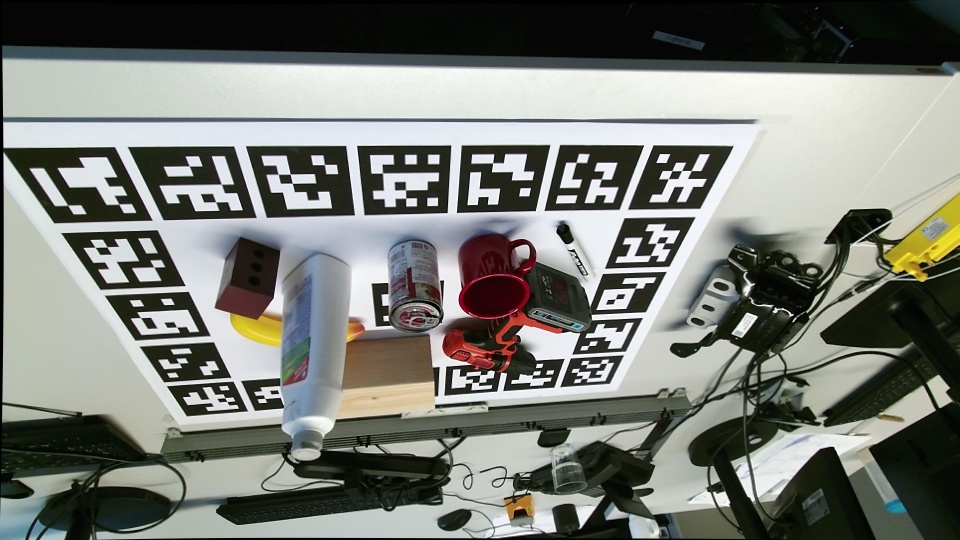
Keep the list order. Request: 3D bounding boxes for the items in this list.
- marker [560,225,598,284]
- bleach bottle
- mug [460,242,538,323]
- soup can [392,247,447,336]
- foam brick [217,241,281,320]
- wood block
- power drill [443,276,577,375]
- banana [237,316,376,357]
[{"bbox_3d":[0.138,-0.021,0.744,0.020,0.019,0.121,-25,135,12],"label":"marker"},{"bbox_3d":[-0.196,0.105,0.642,0.068,0.249,0.103,19,131,-30],"label":"bleach bottle"},{"bbox_3d":[0.027,0.011,0.706,0.117,0.081,0.093,-38,129,23],"label":"mug"},{"bbox_3d":[-0.079,0.029,0.684,0.068,0.101,0.068,-5,141,-4],"label":"soup can"},{"bbox_3d":[-0.282,0.014,0.656,0.053,0.077,0.051,23,131,-34],"label":"foam brick"},{"bbox_3d":[-0.176,0.175,0.844,0.207,0.090,0.090,-3,136,-8],"label":"wood block"},{"bbox_3d":[0.060,0.095,0.832,0.185,0.057,0.187,22,130,-26],"label":"power drill"},{"bbox_3d":[-0.252,0.103,0.781,0.198,0.038,0.074,10,120,-18],"label":"banana"}]
